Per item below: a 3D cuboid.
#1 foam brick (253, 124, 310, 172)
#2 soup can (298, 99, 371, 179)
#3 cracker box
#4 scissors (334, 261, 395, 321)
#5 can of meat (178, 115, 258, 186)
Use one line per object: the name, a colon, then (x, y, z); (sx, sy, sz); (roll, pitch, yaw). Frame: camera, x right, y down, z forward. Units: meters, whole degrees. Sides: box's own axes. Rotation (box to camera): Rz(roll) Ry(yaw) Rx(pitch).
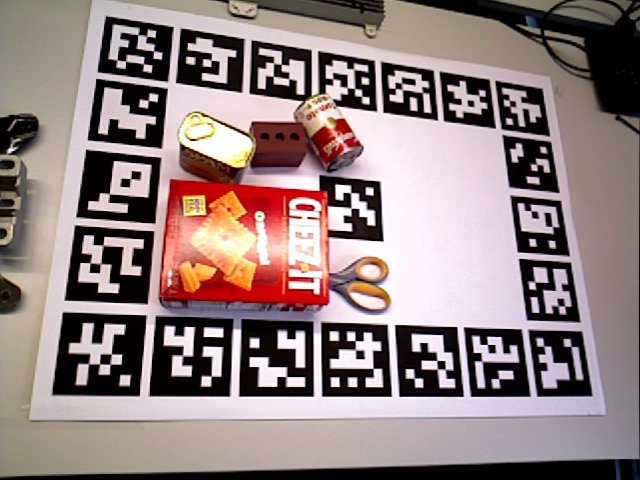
foam brick: (-0.058, -0.134, 0.799); (0.077, 0.052, 0.052); (-5, 75, -17)
soup can: (0.021, -0.153, 0.824); (0.067, 0.069, 0.102); (-33, 79, -22)
cracker box: (-0.094, 0.018, 0.716); (0.211, 0.073, 0.163); (-1, 73, -11)
scissors: (0.008, 0.072, 0.762); (0.200, 0.016, 0.087); (1, 75, -15)
can of meat: (-0.144, -0.118, 0.750); (0.101, 0.085, 0.057); (19, 69, -10)
